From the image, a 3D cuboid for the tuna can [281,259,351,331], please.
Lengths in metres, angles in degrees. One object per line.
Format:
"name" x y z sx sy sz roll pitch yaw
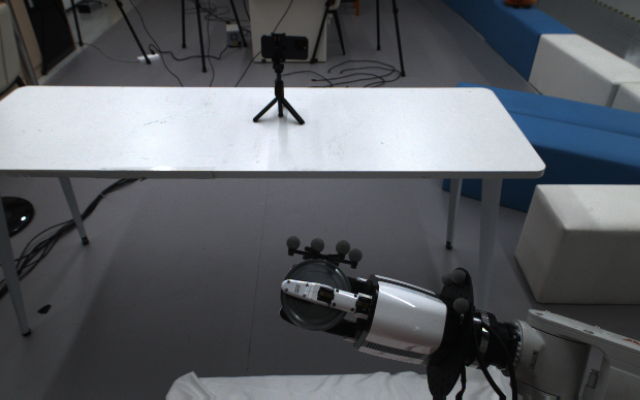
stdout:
"tuna can" -0.004 0.114 0.592 0.085 0.034 0.085 1 72 -3
